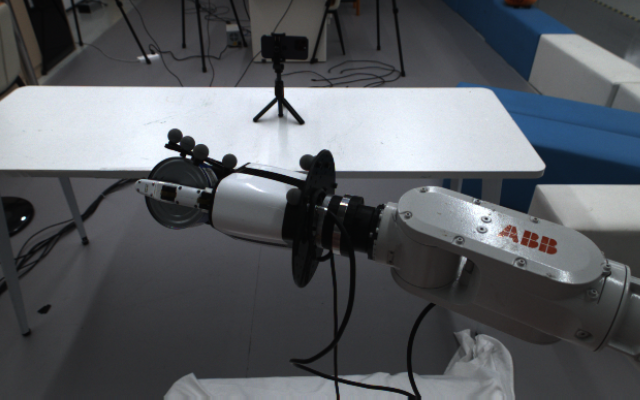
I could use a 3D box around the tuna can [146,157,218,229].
[{"bbox_3d":[-0.163,-0.009,0.582,0.085,0.085,0.034,13,3,16],"label":"tuna can"}]
